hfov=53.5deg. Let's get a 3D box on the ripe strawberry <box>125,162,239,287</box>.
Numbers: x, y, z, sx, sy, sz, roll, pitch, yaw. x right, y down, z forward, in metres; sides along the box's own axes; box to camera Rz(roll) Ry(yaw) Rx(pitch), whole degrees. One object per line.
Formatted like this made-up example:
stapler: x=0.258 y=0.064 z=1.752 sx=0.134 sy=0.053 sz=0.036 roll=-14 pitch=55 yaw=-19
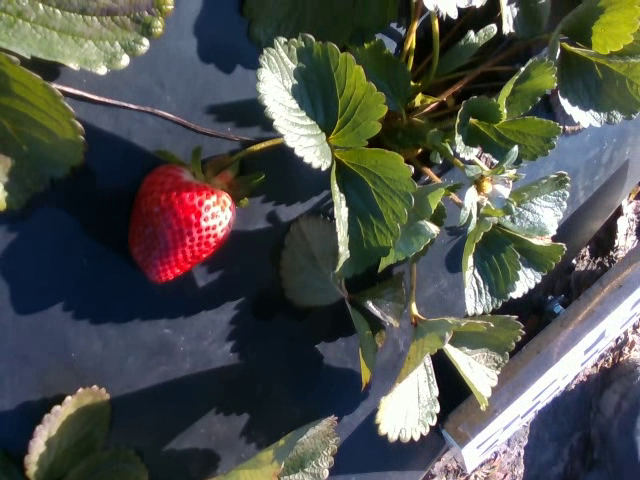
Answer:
ripe strawberry: x=-0.054 y=-0.007 z=0.243 sx=0.044 sy=0.056 sz=0.042 roll=25 pitch=-9 yaw=20
